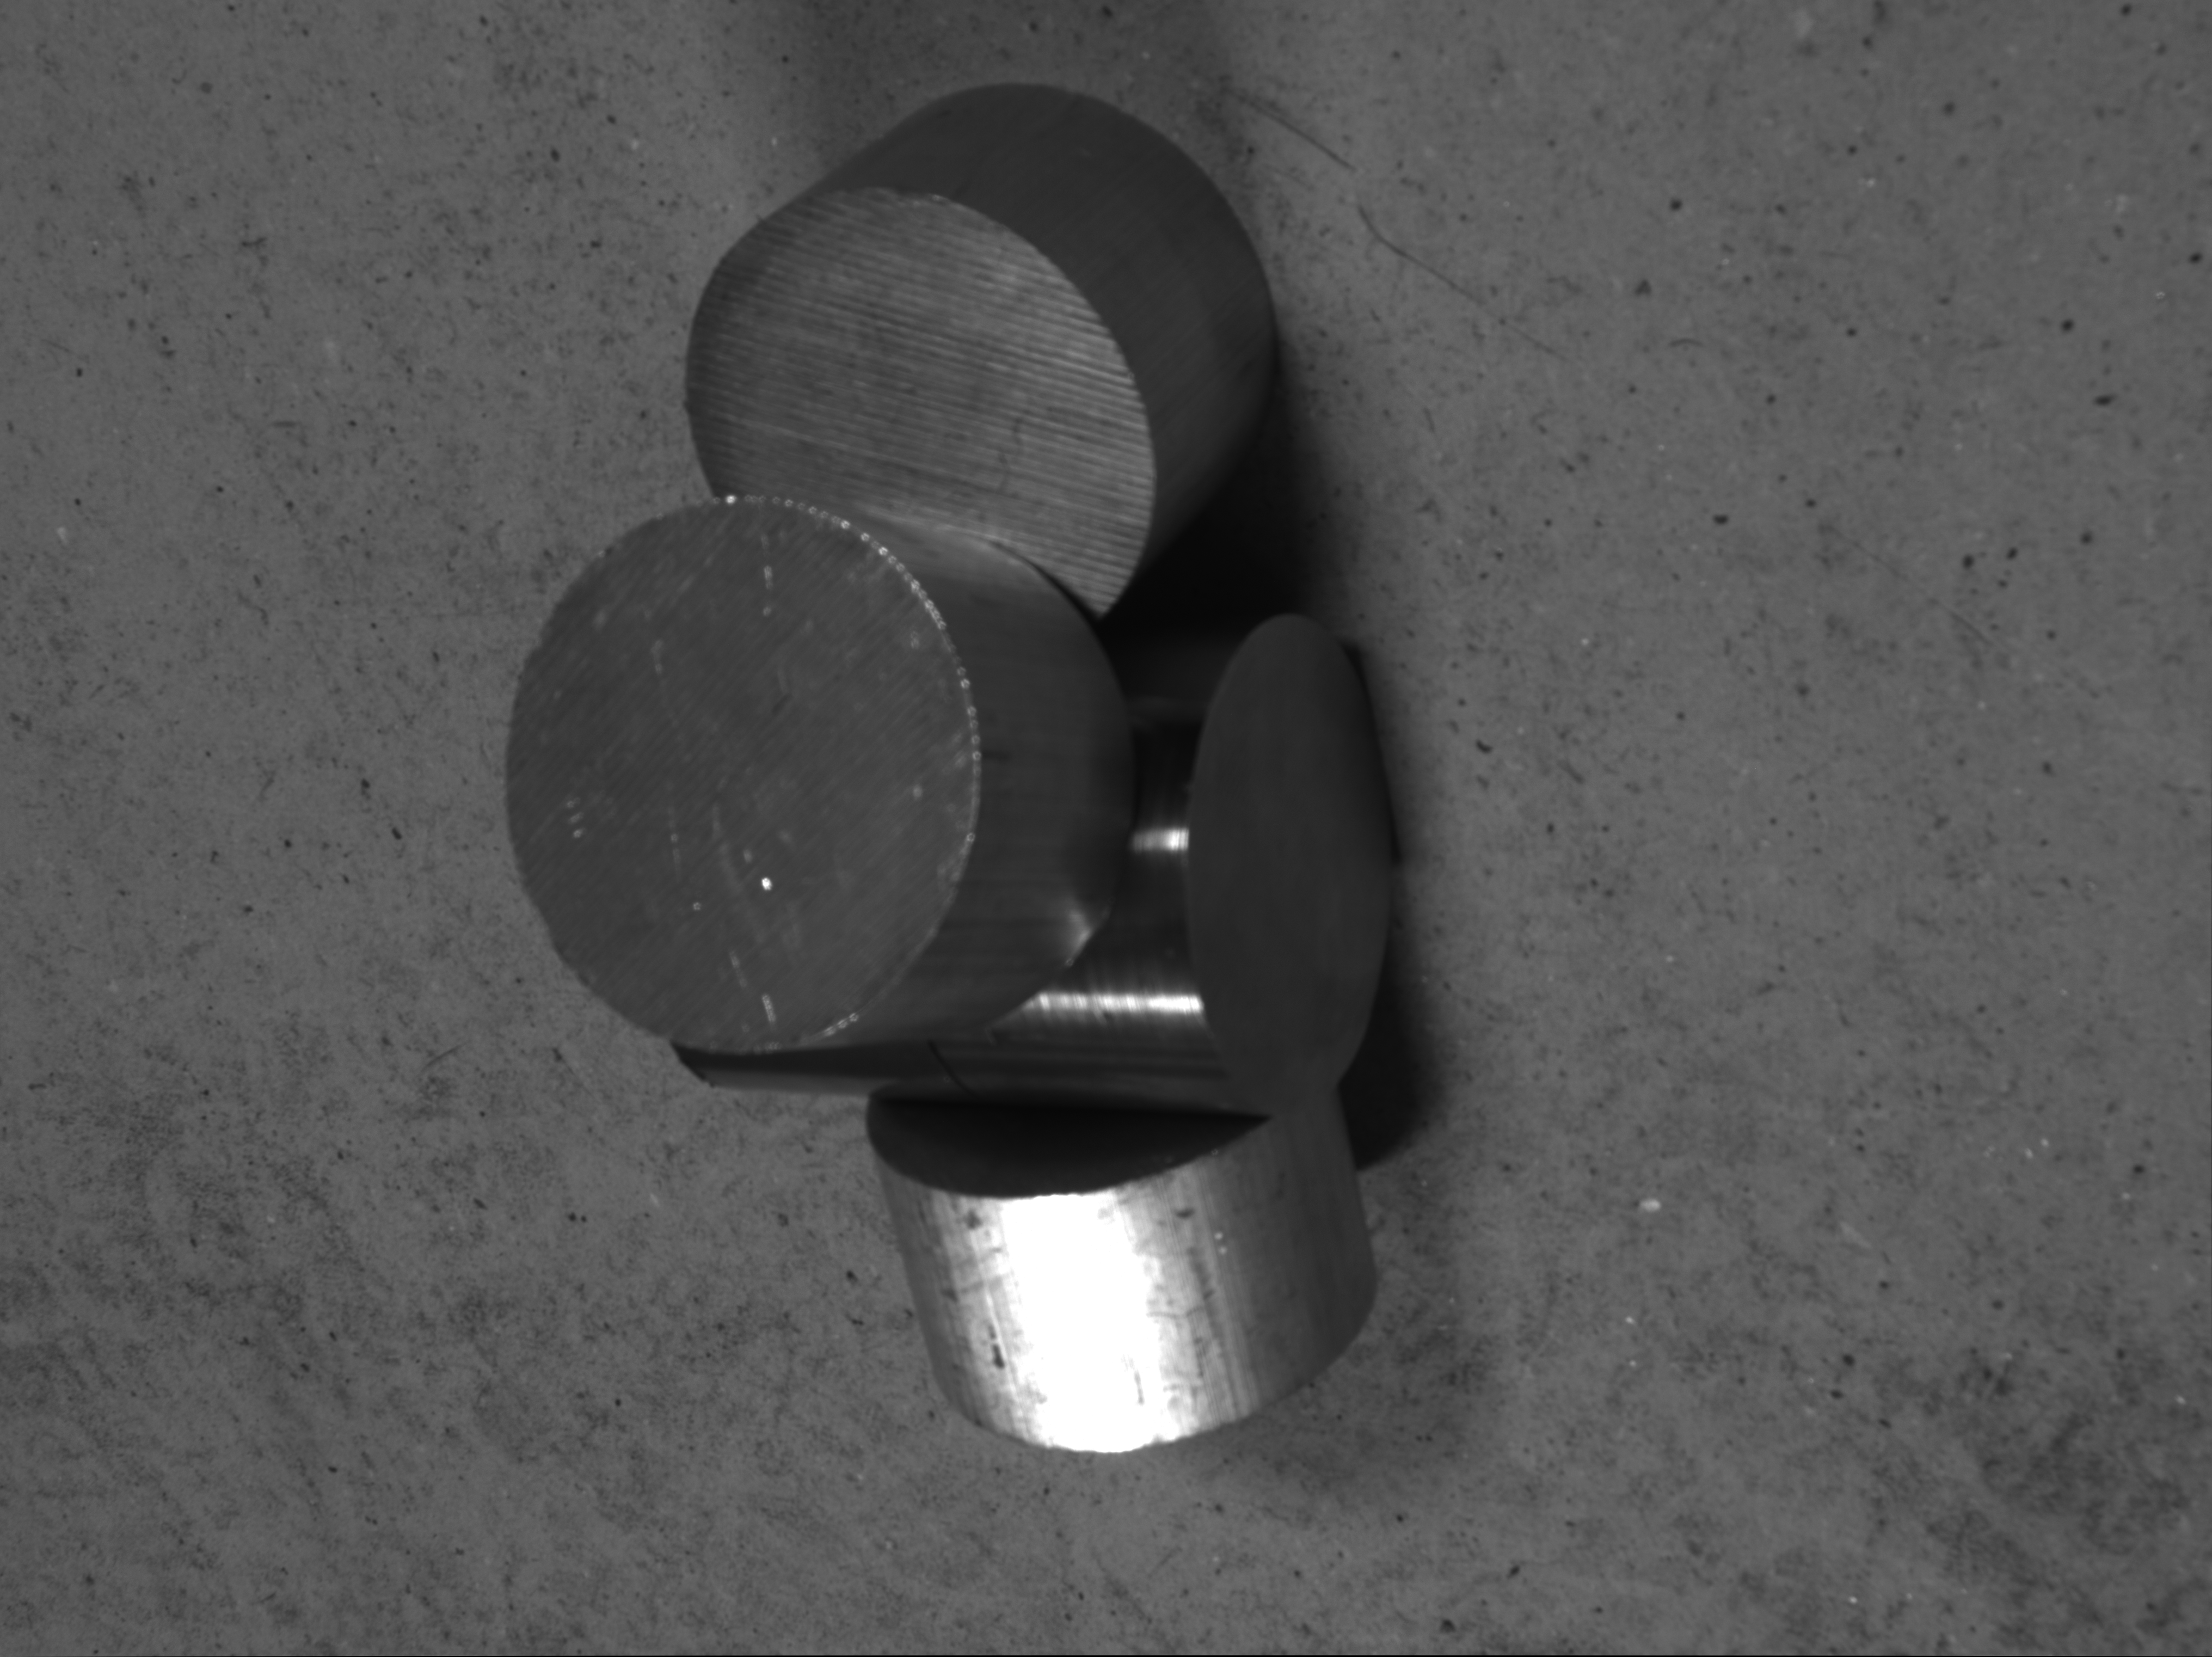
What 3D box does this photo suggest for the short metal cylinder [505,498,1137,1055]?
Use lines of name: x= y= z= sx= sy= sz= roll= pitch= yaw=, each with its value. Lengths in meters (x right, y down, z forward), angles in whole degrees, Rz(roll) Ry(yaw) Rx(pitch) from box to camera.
short metal cylinder: x=-0.042 y=-0.007 z=0.548 sx=0.080 sy=0.050 sz=0.080 roll=0 pitch=89 yaw=26

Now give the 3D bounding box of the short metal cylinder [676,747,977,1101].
short metal cylinder: x=-0.038 y=0.006 z=0.619 sx=0.050 sy=0.080 sz=0.080 roll=1 pitch=118 yaw=26

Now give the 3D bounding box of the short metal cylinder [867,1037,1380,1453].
short metal cylinder: x=0.004 y=0.063 z=0.633 sx=0.080 sy=0.080 sz=0.050 roll=0 pitch=118 yaw=27

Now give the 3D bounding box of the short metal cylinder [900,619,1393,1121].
short metal cylinder: x=0.008 y=0.006 z=0.596 sx=0.050 sy=0.080 sz=0.080 roll=1 pitch=118 yaw=27

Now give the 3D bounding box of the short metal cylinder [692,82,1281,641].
short metal cylinder: x=-0.018 y=-0.072 z=0.582 sx=0.080 sy=0.050 sz=0.080 roll=12 pitch=123 yaw=20
